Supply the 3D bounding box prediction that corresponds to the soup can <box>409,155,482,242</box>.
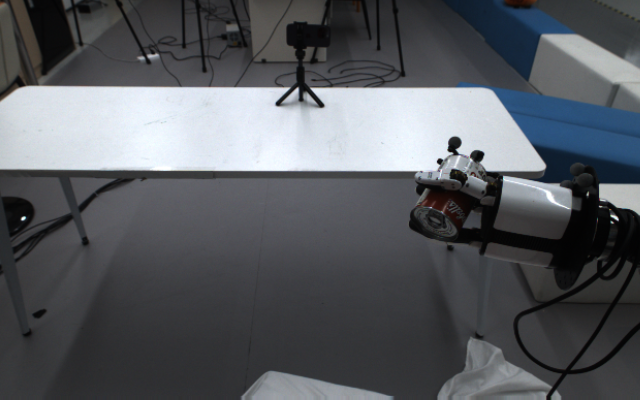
[{"bbox_3d":[0.176,-0.005,0.648,0.067,0.067,0.101,22,61,26],"label":"soup can"}]
